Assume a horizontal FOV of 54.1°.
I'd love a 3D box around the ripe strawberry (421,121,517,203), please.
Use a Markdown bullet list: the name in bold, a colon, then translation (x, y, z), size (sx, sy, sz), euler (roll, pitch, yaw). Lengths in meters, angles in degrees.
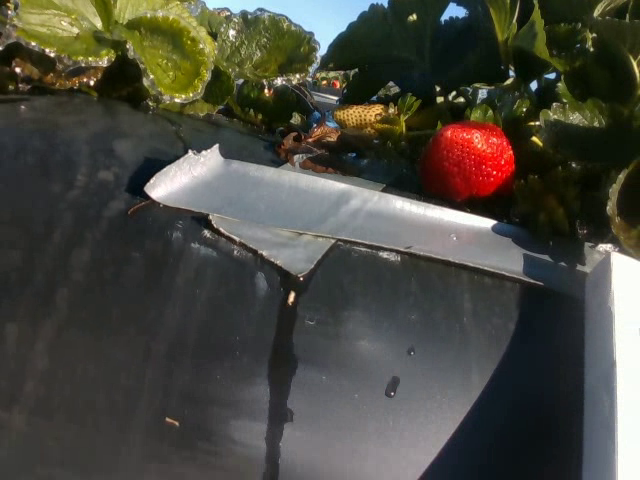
- **ripe strawberry**: translation (0.079, -0.045, 0.336), size (0.062, 0.057, 0.065), euler (49, 9, 22)
